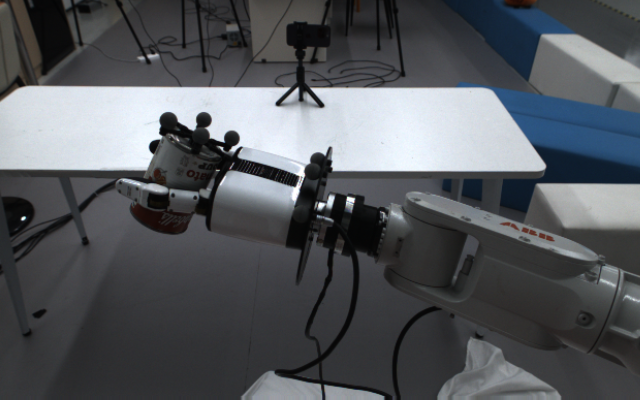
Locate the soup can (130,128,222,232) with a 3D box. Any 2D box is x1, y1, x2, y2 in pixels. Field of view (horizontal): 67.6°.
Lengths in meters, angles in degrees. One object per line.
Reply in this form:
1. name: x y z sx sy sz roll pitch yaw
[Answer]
1. soup can: -0.159 -0.020 0.537 0.067 0.101 0.067 28 18 -10
